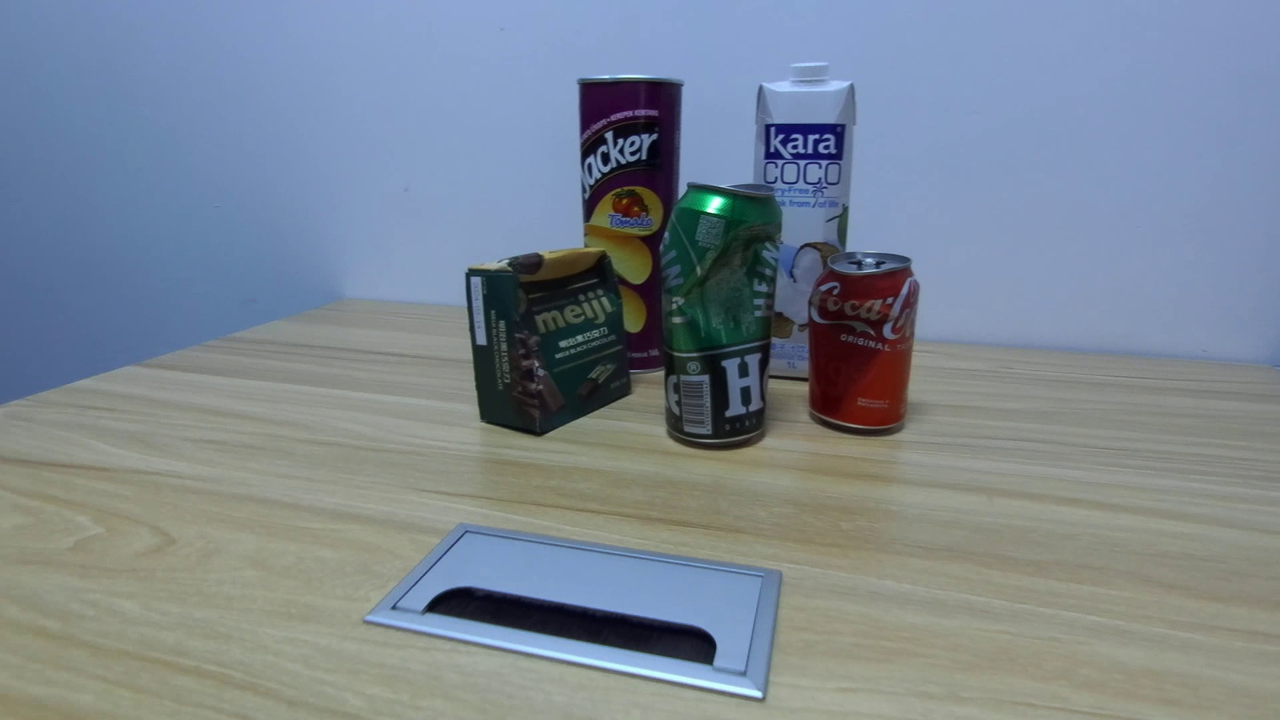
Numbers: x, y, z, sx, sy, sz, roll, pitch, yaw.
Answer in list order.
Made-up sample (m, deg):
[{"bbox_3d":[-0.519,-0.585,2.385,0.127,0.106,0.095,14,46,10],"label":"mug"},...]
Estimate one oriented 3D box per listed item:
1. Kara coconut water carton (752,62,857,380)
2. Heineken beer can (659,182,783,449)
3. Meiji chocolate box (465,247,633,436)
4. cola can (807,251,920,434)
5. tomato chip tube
[{"bbox_3d":[0.129,-0.109,0.575,0.077,0.245,0.075,4,15,14],"label":"Kara coconut water carton"},{"bbox_3d":[0.050,-0.028,0.451,0.077,0.164,0.066,3,16,1],"label":"Heineken beer can"},{"bbox_3d":[-0.064,-0.015,0.512,0.058,0.110,0.114,2,12,35],"label":"Meiji chocolate box"},{"bbox_3d":[0.155,-0.013,0.482,0.066,0.117,0.072,-8,19,-31],"label":"cola can"},{"bbox_3d":[-0.006,-0.110,0.594,0.080,0.234,0.077,9,18,32],"label":"tomato chip tube"}]
